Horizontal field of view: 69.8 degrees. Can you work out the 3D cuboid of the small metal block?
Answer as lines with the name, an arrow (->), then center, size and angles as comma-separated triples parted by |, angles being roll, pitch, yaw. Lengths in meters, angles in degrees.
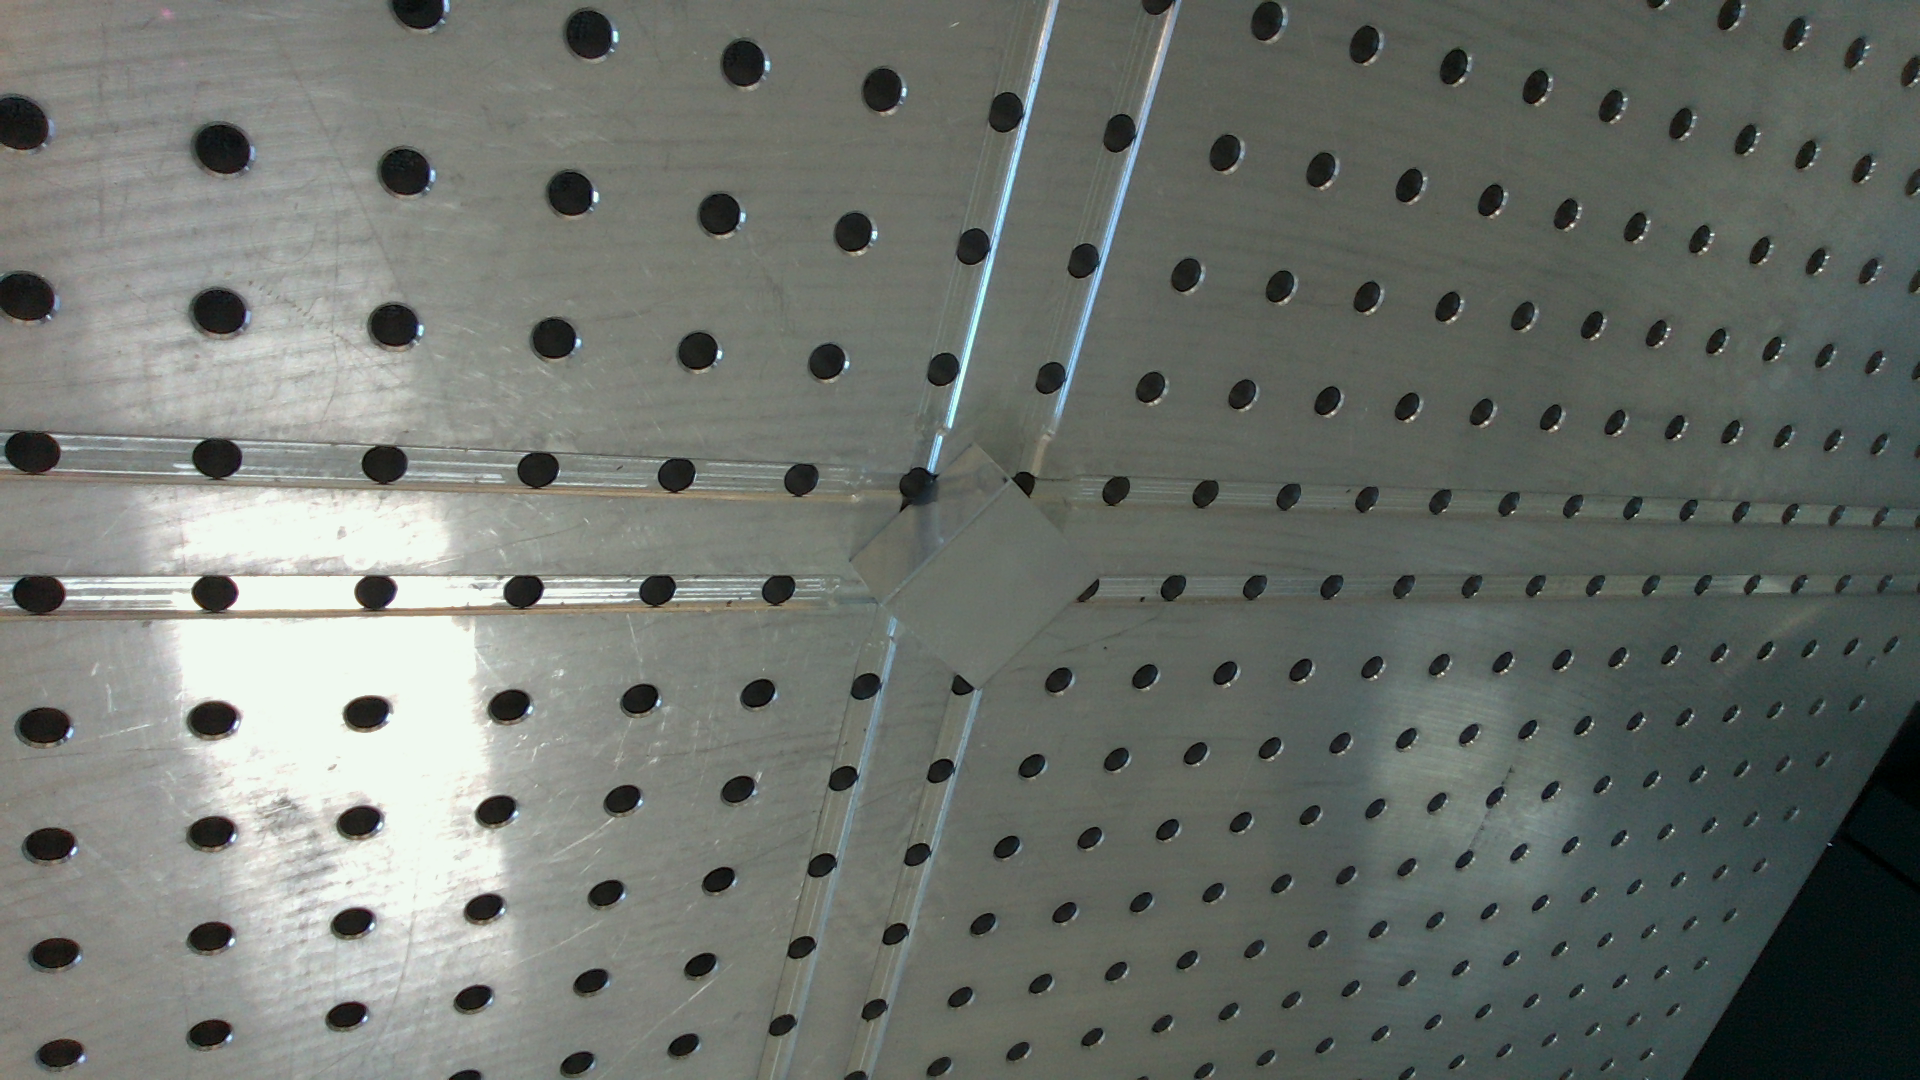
small metal block -> 0.004, 0.008, 0.399 | 0.050, 0.025, 0.050 | -44, 130, 2
